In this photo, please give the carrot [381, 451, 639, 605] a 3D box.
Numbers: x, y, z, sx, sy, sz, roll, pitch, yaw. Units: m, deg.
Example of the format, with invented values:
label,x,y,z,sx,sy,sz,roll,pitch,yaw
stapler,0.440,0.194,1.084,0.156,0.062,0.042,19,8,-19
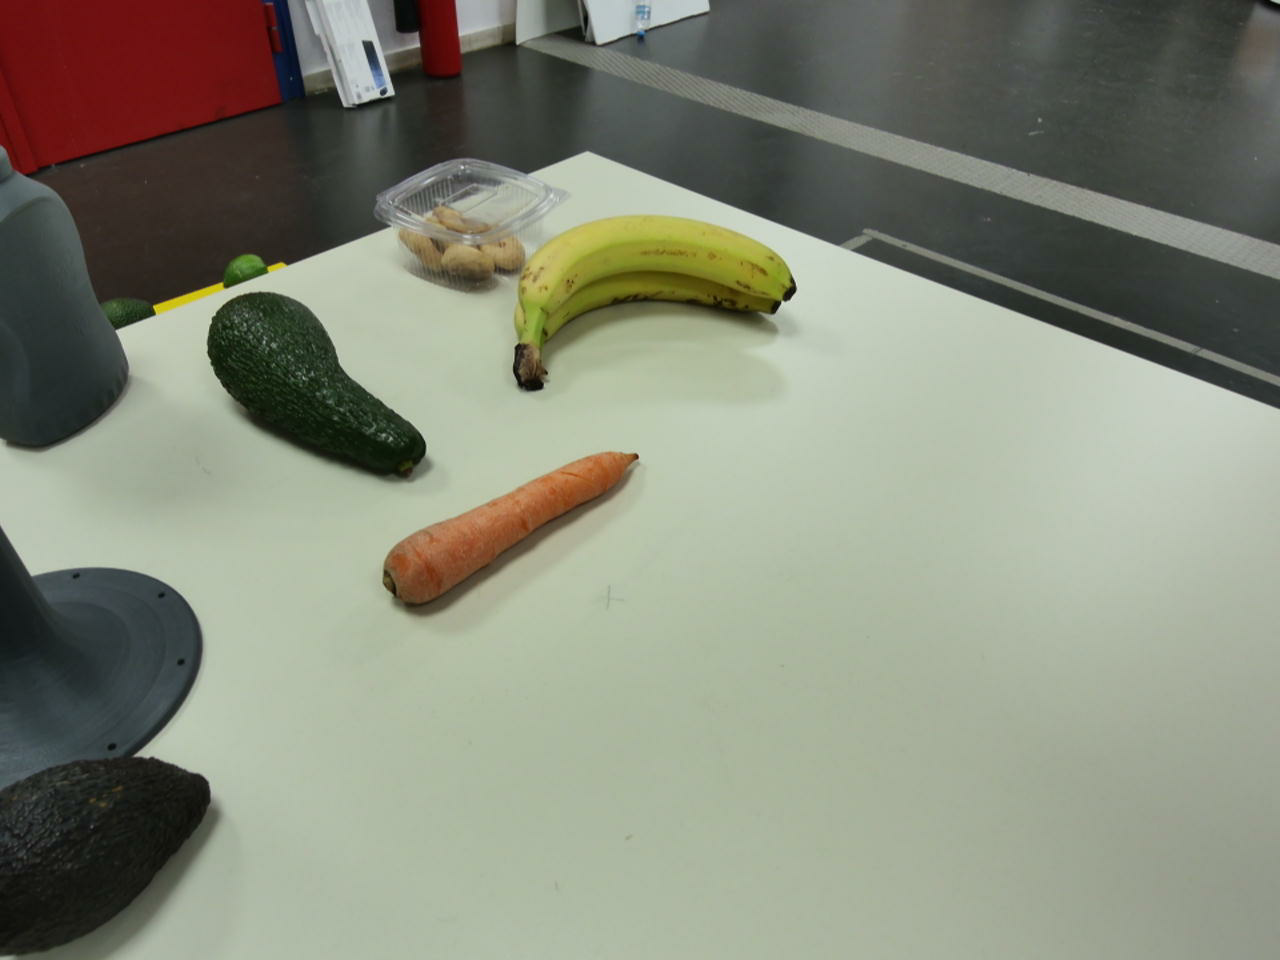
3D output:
label,x,y,z,sx,sy,sz,roll,pitch,yaw
carrot,-0.071,0.015,0.602,0.039,0.041,0.196,30,46,32
